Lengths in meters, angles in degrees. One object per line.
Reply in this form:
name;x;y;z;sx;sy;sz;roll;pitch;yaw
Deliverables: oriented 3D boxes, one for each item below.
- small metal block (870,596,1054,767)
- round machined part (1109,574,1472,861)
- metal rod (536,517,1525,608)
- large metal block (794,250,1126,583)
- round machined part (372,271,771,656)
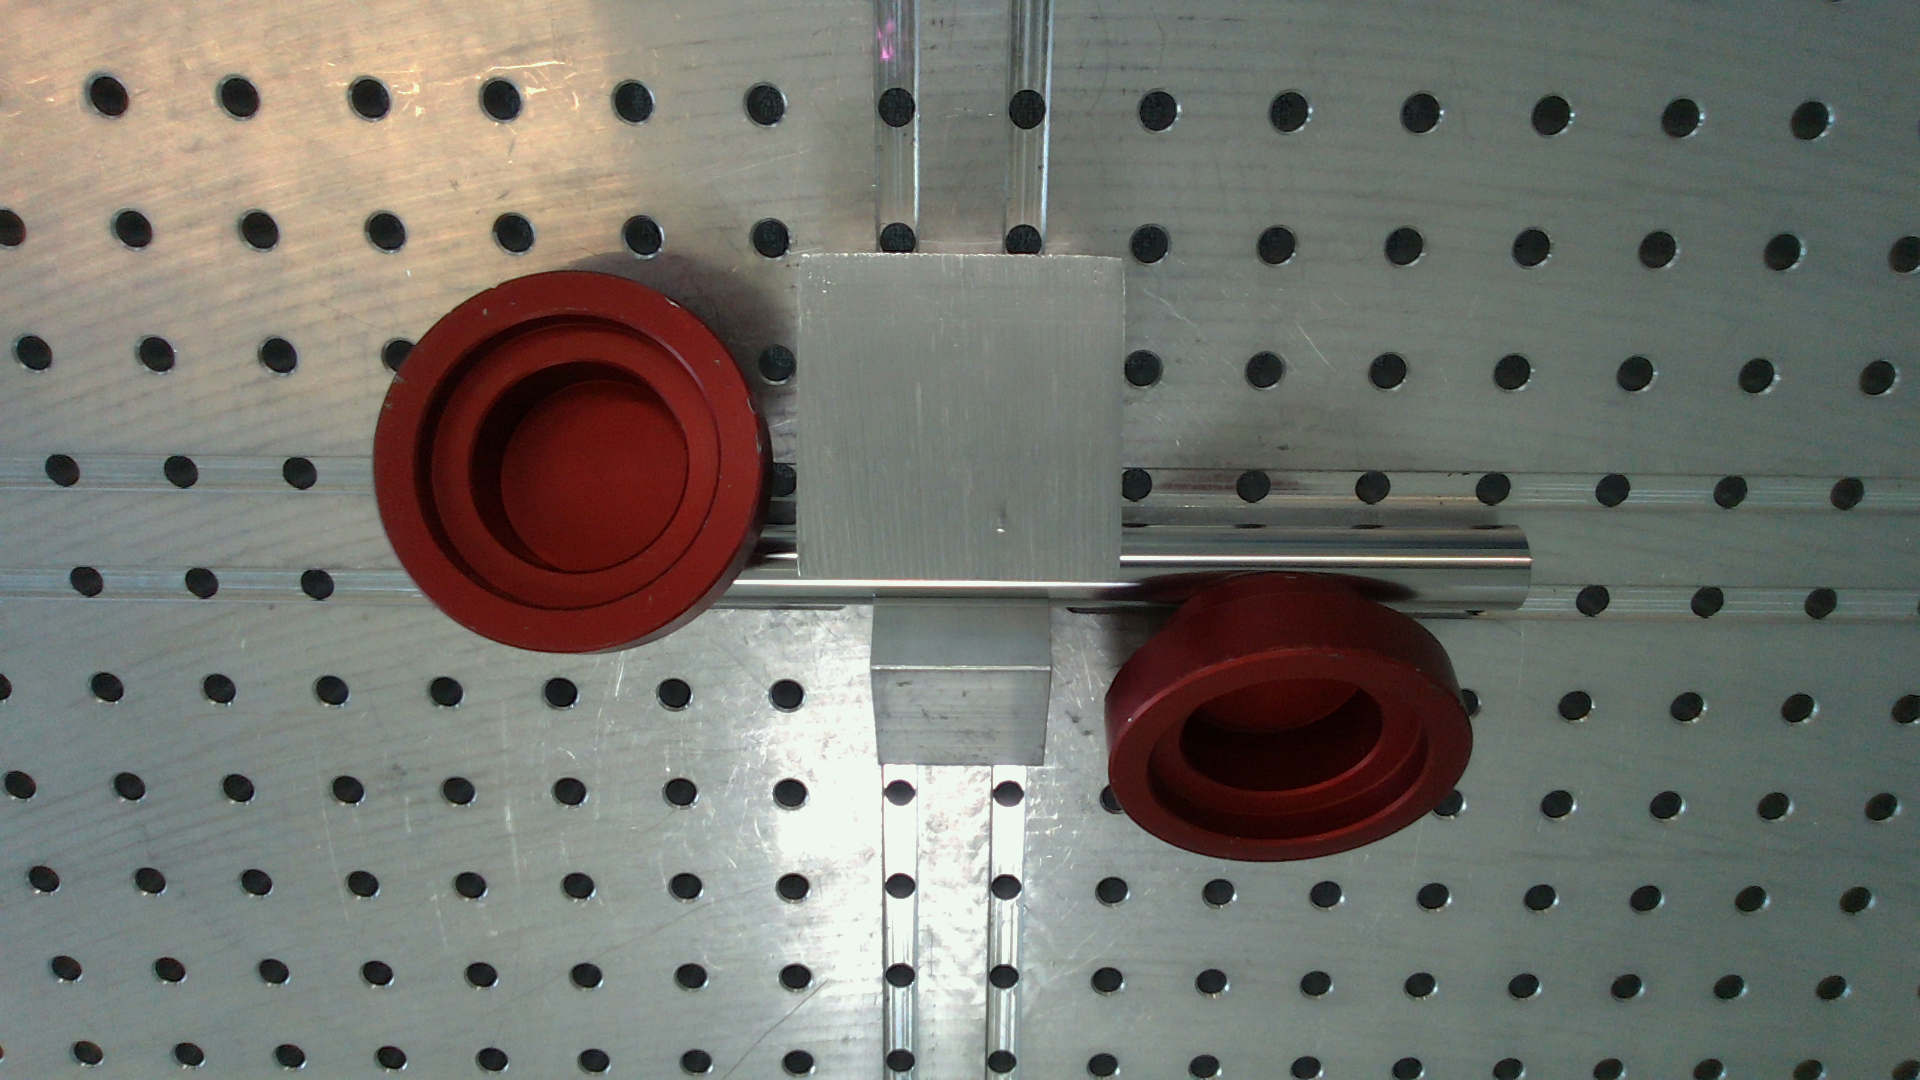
small metal block;0.000;0.042;0.401;0.050;0.025;0.050;1;139;0
round machined part;0.090;0.047;0.392;0.098;0.042;0.098;0;136;0
metal rod;0.010;0.006;0.400;0.300;0.025;0.025;0;110;0
large metal block;0.000;-0.031;0.360;0.080;0.050;0.080;1;92;0
round machined part;-0.099;-0.018;0.366;0.098;0.042;0.098;0;84;0
